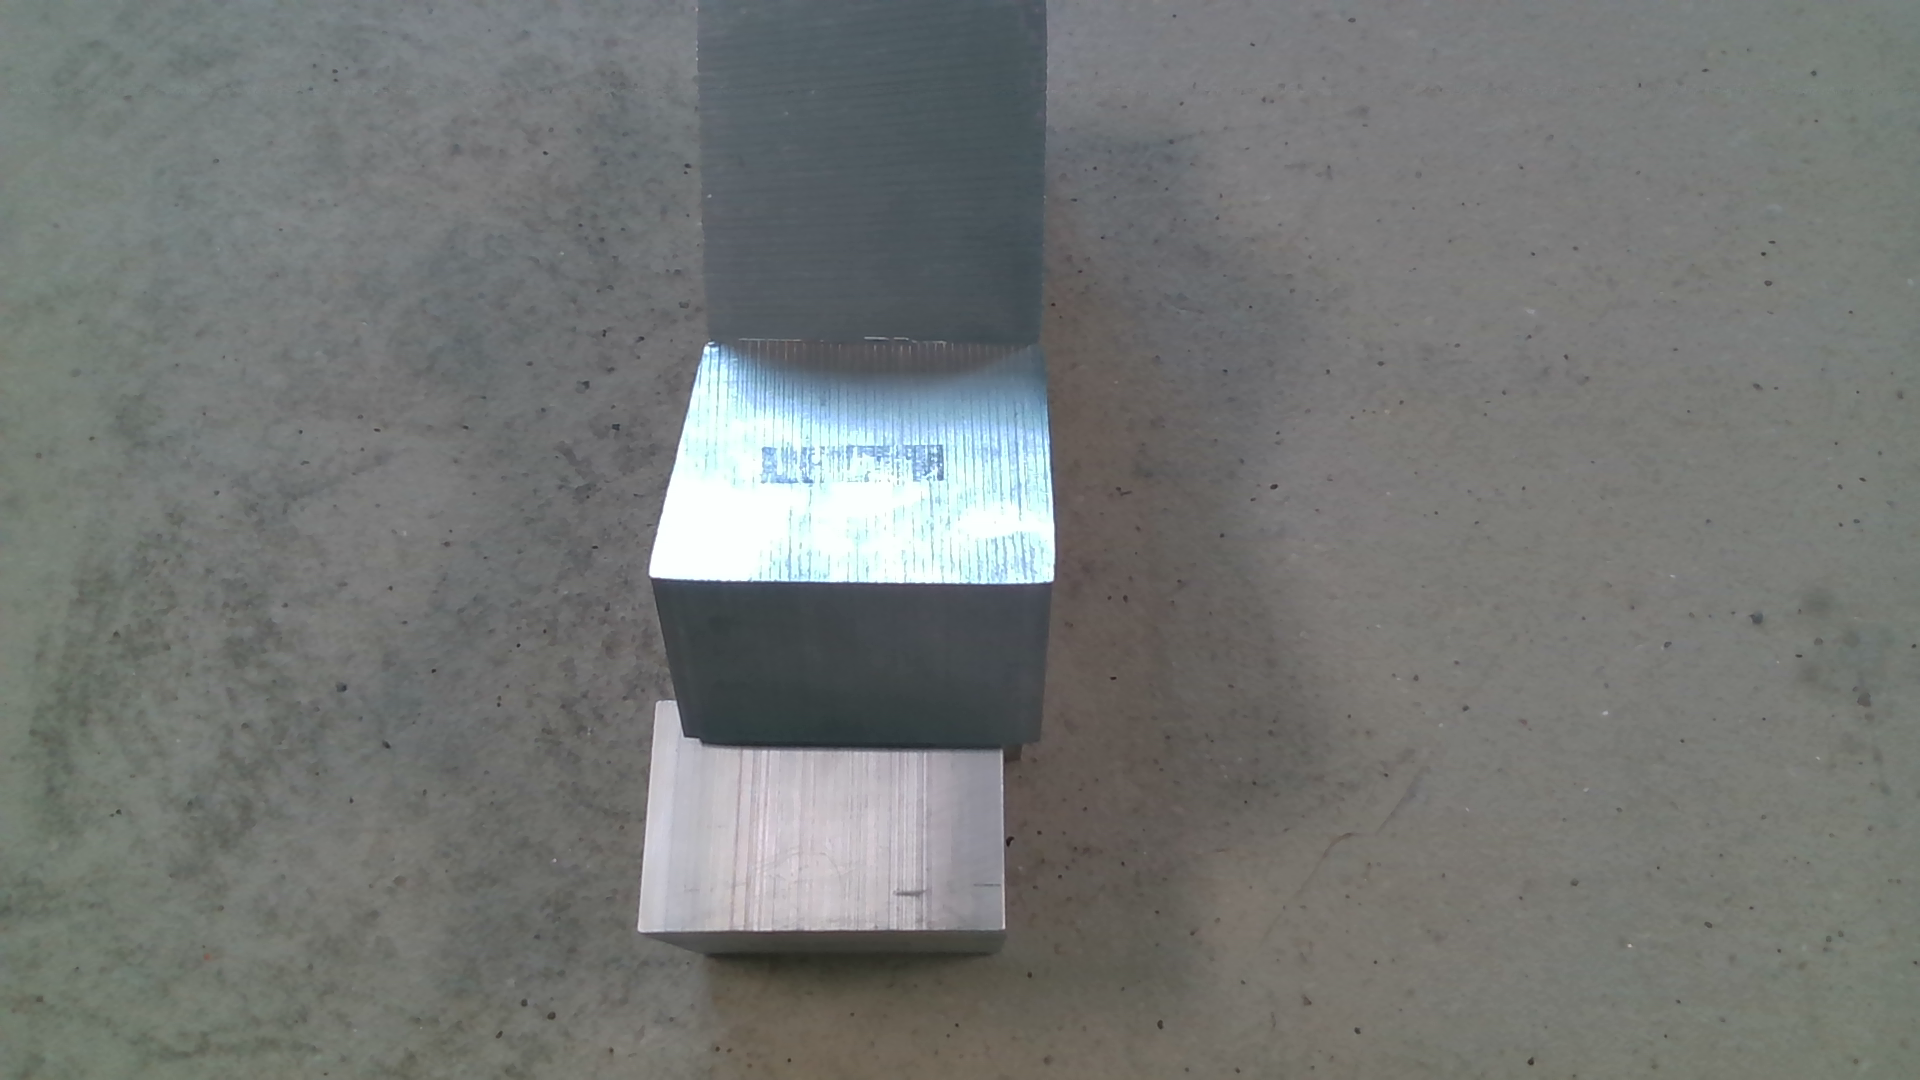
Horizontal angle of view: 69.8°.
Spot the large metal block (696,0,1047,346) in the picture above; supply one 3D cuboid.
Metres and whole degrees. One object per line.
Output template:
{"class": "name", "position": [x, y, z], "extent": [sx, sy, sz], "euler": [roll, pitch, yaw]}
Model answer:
{"class": "large metal block", "position": [-0.020, -0.090, 0.344], "extent": [0.080, 0.050, 0.080], "euler": [0, 99, 0]}

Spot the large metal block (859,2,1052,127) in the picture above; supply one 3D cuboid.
{"class": "large metal block", "position": [-0.016, -0.127, 0.411], "extent": [0.080, 0.080, 0.050], "euler": [0, 70, -1]}

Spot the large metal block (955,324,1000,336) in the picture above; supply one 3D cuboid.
{"class": "large metal block", "position": [-0.020, -0.059, 0.403], "extent": [0.080, 0.050, 0.080], "euler": [0, 70, 0]}

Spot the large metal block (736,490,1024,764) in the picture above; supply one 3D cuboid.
{"class": "large metal block", "position": [-0.023, 0.017, 0.375], "extent": [0.080, 0.050, 0.080], "euler": [0, 70, 0]}

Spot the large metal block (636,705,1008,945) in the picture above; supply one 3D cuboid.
{"class": "large metal block", "position": [-0.030, 0.074, 0.342], "extent": [0.080, 0.080, 0.050], "euler": [0, 71, 0]}

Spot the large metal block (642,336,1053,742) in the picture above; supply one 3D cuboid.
{"class": "large metal block", "position": [-0.022, -0.002, 0.314], "extent": [0.080, 0.050, 0.080], "euler": [1, 44, 0]}
